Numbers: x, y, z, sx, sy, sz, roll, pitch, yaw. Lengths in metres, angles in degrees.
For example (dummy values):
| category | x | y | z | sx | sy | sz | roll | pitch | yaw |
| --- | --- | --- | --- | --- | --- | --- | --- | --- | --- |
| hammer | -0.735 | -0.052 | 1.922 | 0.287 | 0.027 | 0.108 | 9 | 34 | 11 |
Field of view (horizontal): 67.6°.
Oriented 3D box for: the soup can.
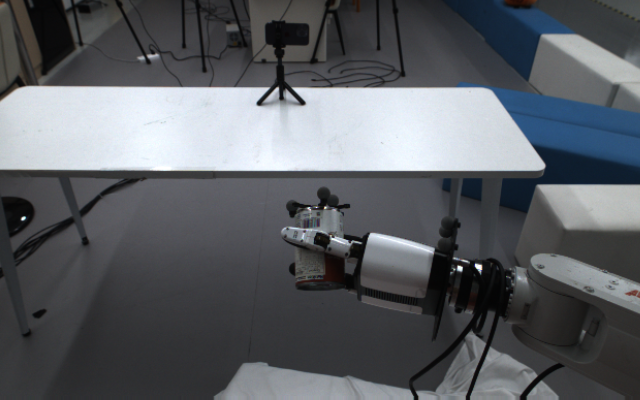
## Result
| category | x | y | z | sx | sy | sz | roll | pitch | yaw |
| --- | --- | --- | --- | --- | --- | --- | --- | --- | --- |
| soup can | 0.002 | 0.065 | 0.644 | 0.067 | 0.067 | 0.101 | -1 | 71 | -5 |
